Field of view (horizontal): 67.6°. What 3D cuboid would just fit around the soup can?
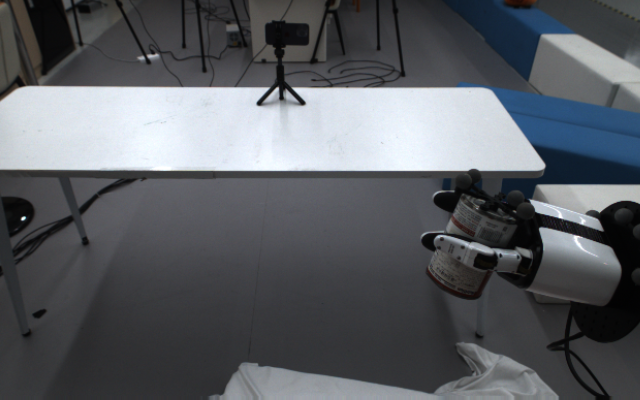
[{"bbox_3d":[0.172,0.049,0.543,0.067,0.101,0.067,17,21,-7],"label":"soup can"}]
